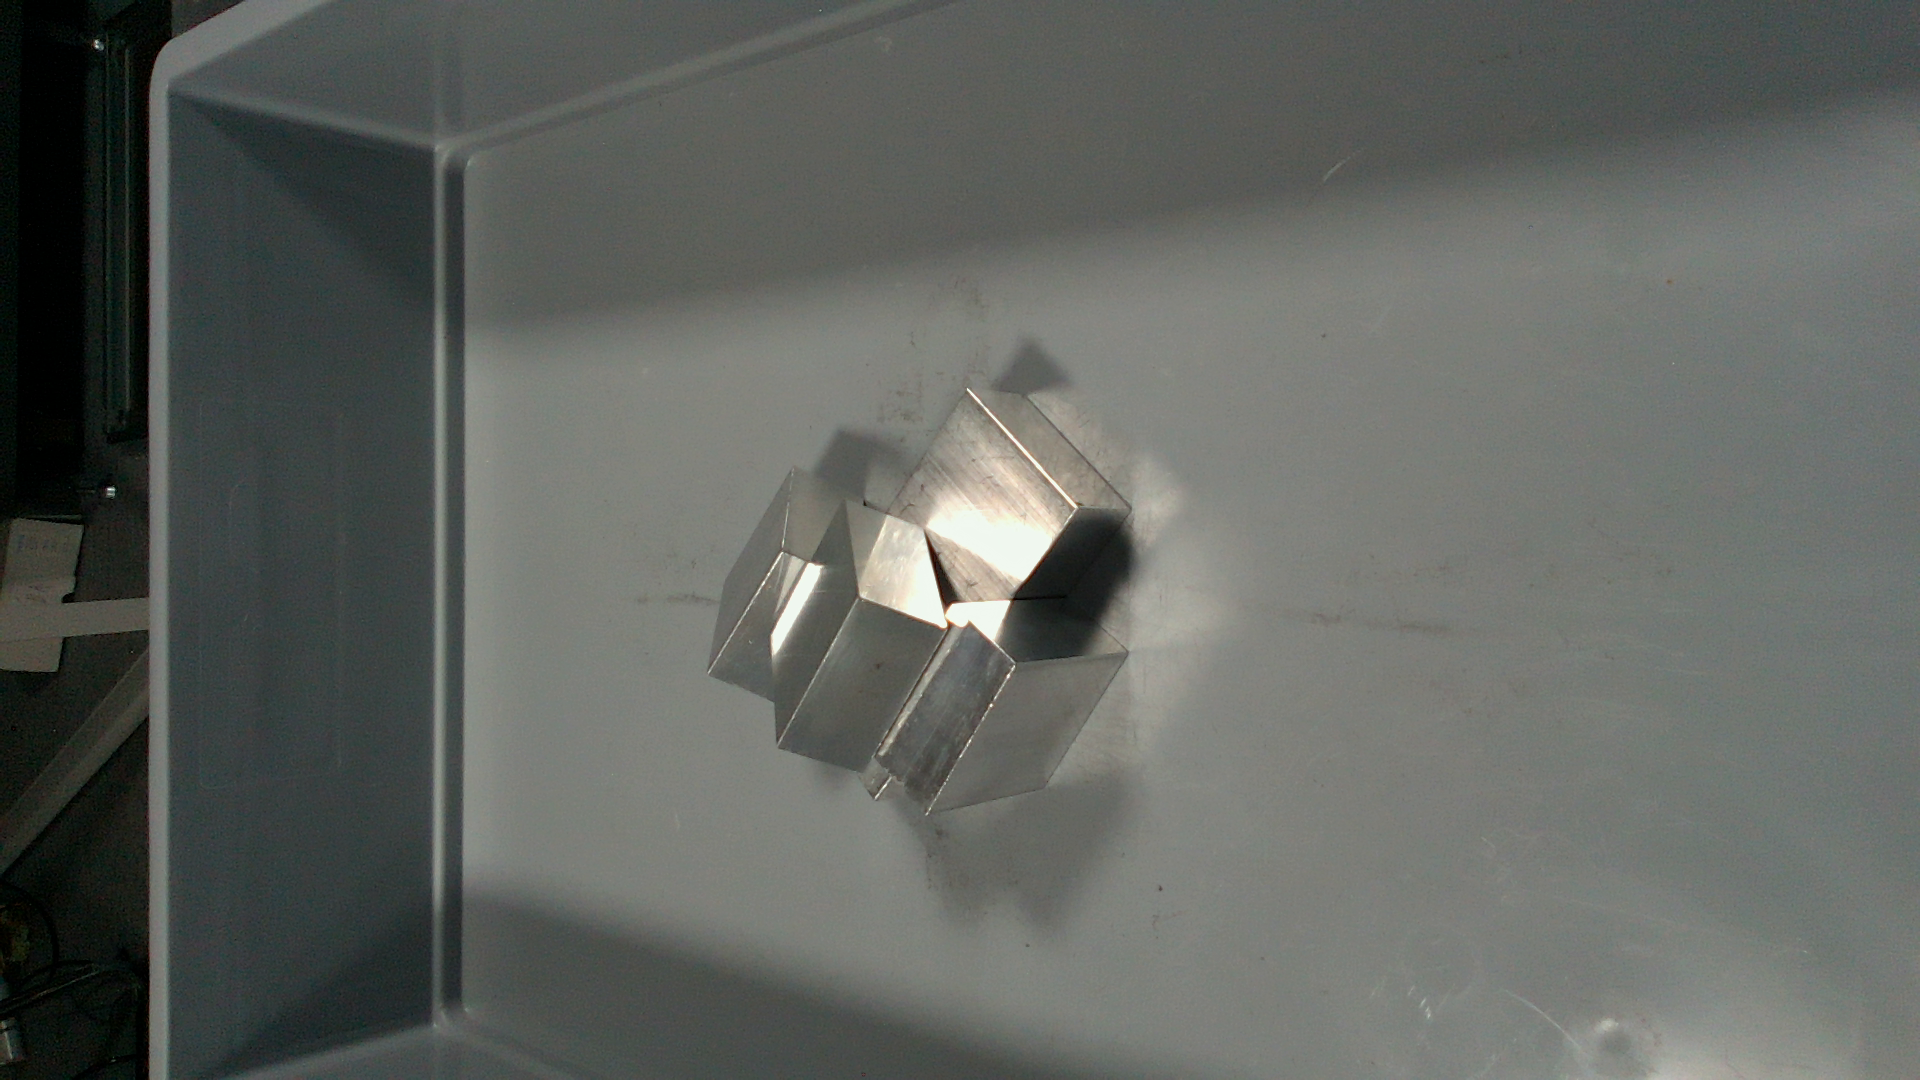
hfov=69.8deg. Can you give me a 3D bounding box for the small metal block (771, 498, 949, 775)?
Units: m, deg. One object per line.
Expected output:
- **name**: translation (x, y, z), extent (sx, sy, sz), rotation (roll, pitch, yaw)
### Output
- **small metal block**: translation (-0.029, 0.025, 0.369), extent (0.050, 0.025, 0.050), rotation (-60, 22, 23)

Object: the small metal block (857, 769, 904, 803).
- **small metal block**: translation (-0.018, 0.041, 0.408), extent (0.050, 0.025, 0.050), rotation (50, 119, 29)

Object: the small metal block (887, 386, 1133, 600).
- **small metal block**: translation (0.012, -0.007, 0.383), extent (0.050, 0.025, 0.050), rotation (50, 119, 29)

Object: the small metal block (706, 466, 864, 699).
- **small metal block**: translation (-0.053, 0.013, 0.422), extent (0.050, 0.025, 0.050), rotation (-56, 19, 26)

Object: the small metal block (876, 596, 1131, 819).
- **small metal block**: translation (0.011, 0.043, 0.367), extent (0.025, 0.050, 0.050), rotation (42, 116, 32)
